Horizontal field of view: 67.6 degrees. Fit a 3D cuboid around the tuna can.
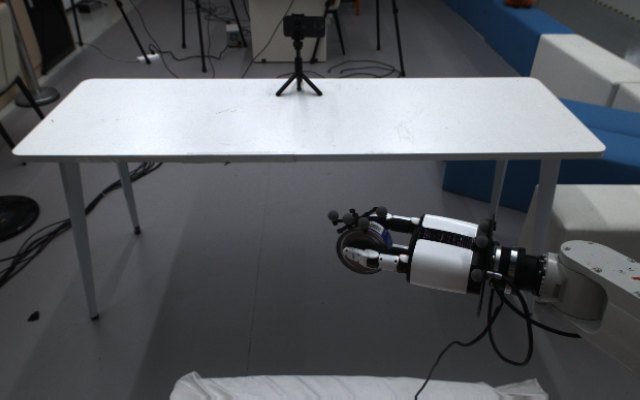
[{"bbox_3d":[0.073,0.074,0.770,0.085,0.085,0.034,13,29,15],"label":"tuna can"}]
